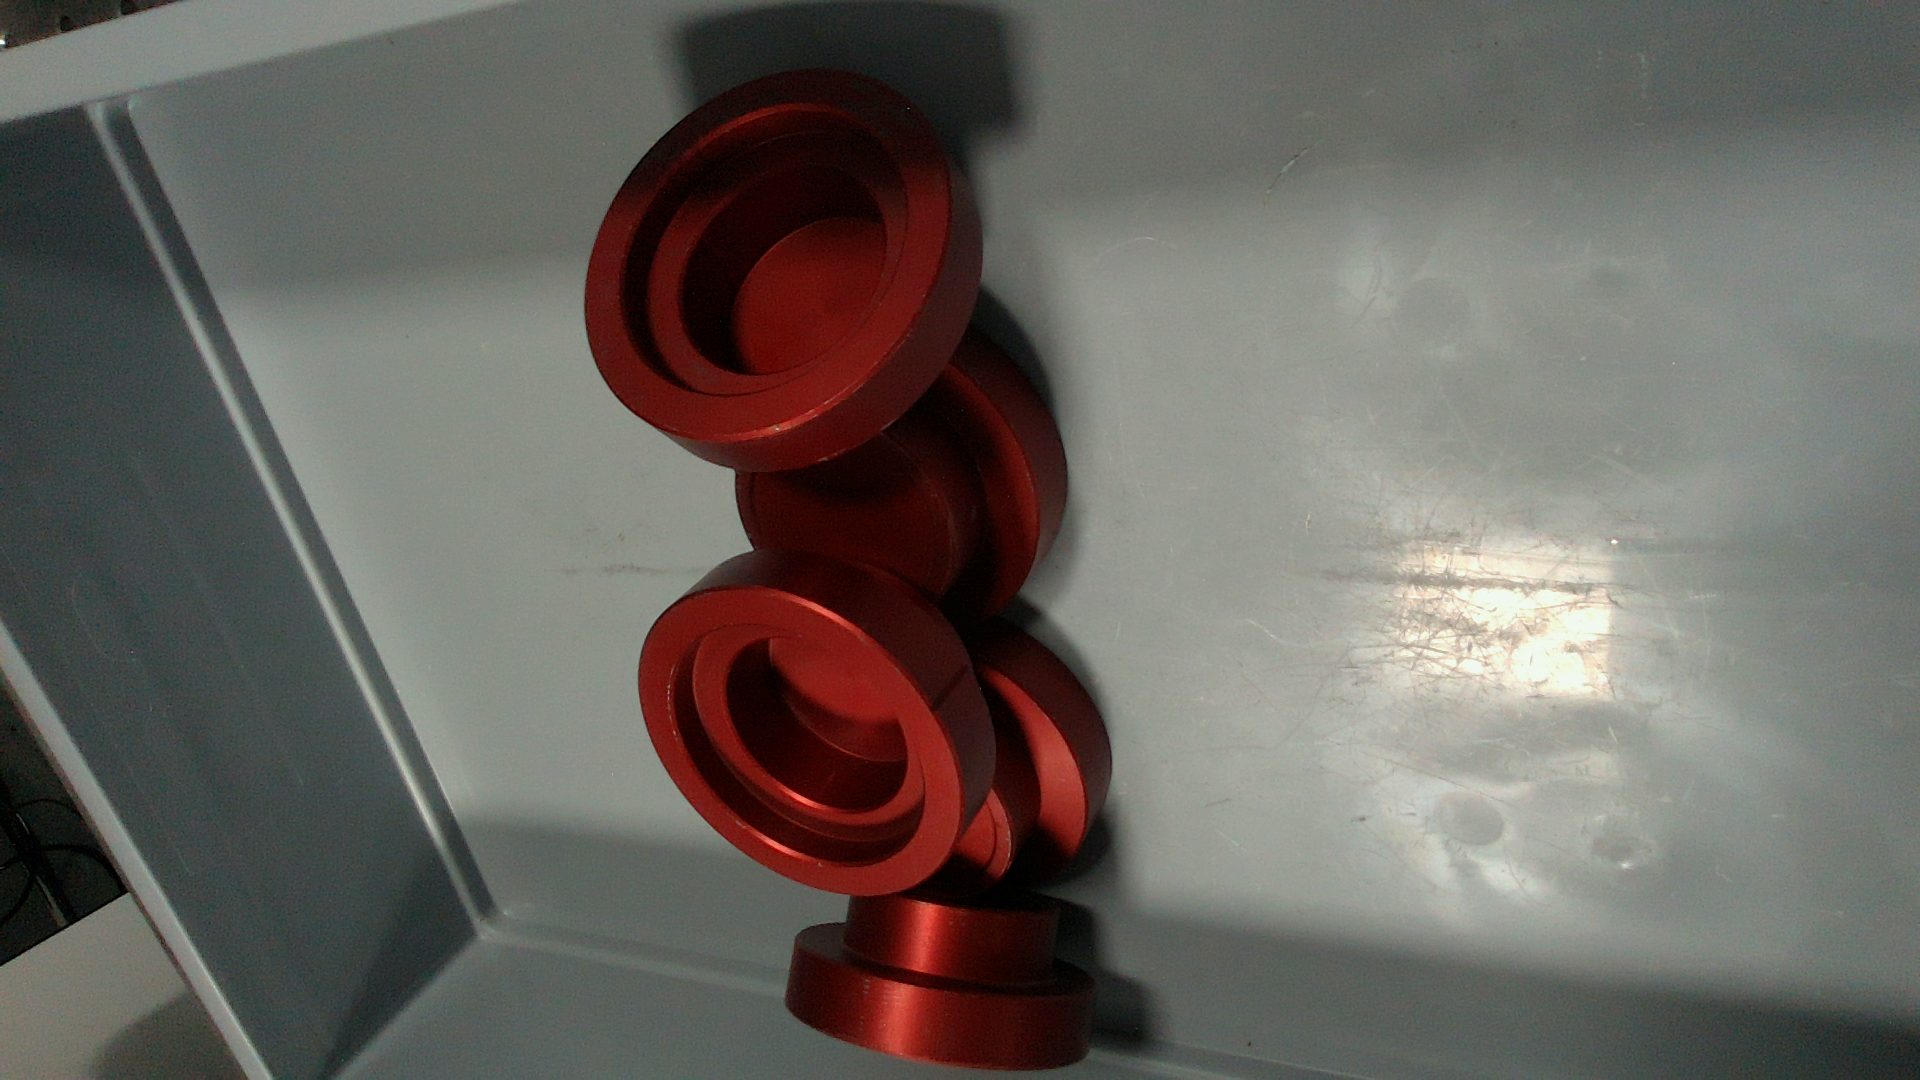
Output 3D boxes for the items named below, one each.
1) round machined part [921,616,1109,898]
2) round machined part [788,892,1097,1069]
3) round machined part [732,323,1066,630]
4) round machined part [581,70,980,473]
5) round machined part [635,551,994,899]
[{"bbox_3d":[-0.006,0.071,0.427,0.098,0.042,0.098,13,124,21],"label":"round machined part"},{"bbox_3d":[-0.004,0.133,0.442,0.098,0.098,0.042,6,84,25],"label":"round machined part"},{"bbox_3d":[-0.023,-0.015,0.383,0.098,0.042,0.098,13,124,21],"label":"round machined part"},{"bbox_3d":[-0.040,-0.062,0.340,0.098,0.098,0.042,7,164,25],"label":"round machined part"},{"bbox_3d":[-0.035,0.045,0.371,0.098,0.042,0.098,13,124,21],"label":"round machined part"}]
